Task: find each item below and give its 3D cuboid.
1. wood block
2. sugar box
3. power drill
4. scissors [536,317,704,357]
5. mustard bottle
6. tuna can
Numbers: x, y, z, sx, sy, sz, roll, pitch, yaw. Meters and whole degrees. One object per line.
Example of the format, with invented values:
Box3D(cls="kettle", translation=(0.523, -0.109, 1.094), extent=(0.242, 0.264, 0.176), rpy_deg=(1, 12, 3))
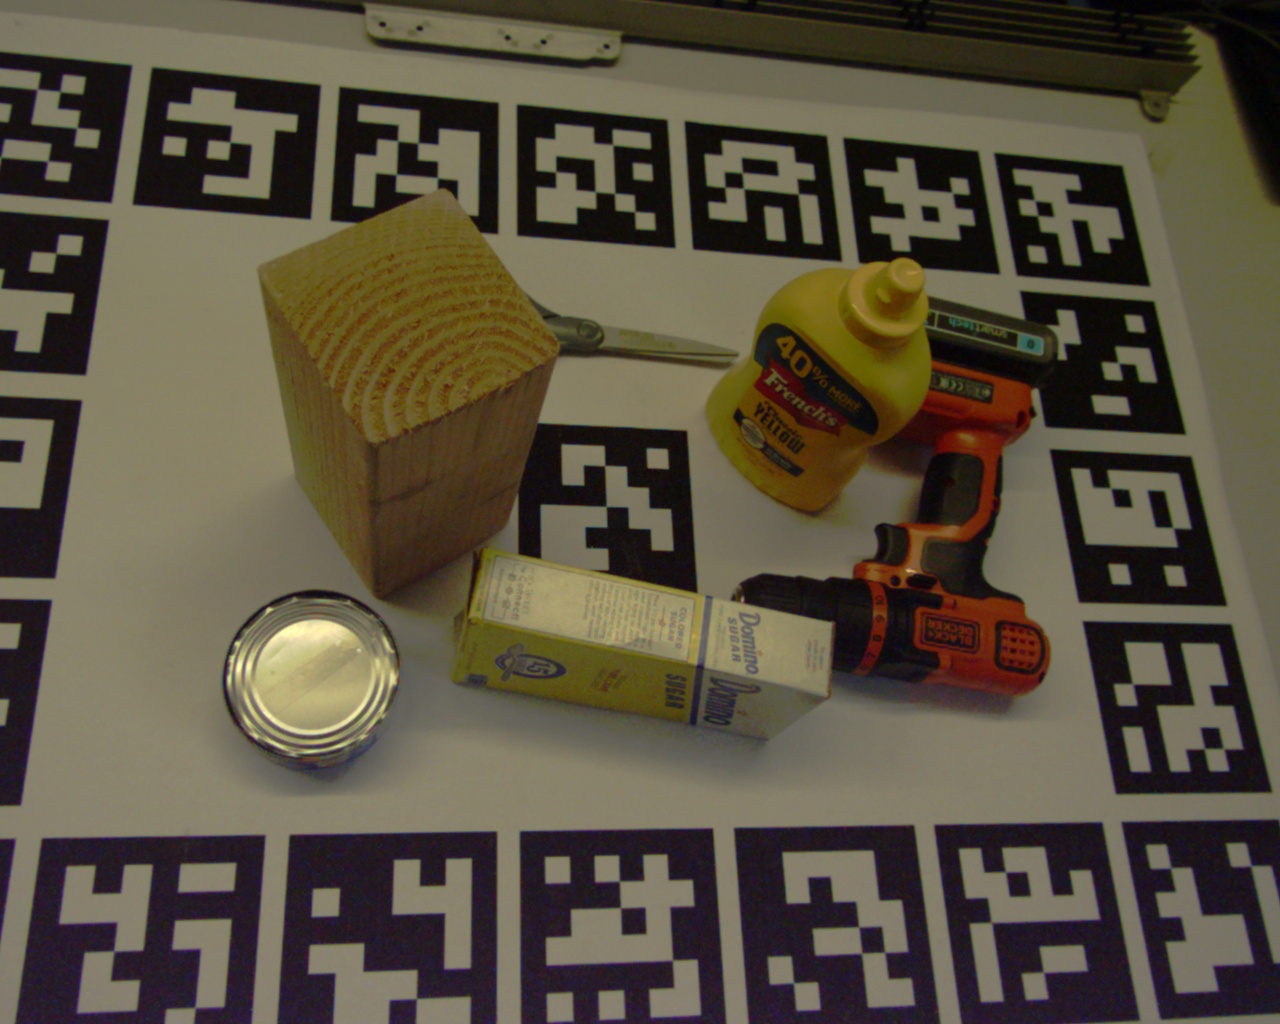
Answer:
Box3D(cls="wood block", translation=(-0.115, -0.040, 0.575), extent=(0.090, 0.207, 0.090), rpy_deg=(-27, 80, -19))
Box3D(cls="sugar box", translation=(0.001, 0.073, 0.610), extent=(0.176, 0.093, 0.045), rpy_deg=(13, 65, -8))
Box3D(cls="power drill", translation=(0.133, -0.001, 0.679), extent=(0.184, 0.057, 0.187), rpy_deg=(14, 75, -6))
Box3D(cls="scissors", translation=(-0.058, -0.105, 0.701), extent=(0.202, 0.016, 0.088), rpy_deg=(3, 66, -10))
Box3D(cls="mustard bottle", translation=(0.096, -0.070, 0.633), extent=(0.058, 0.192, 0.096), rpy_deg=(-40, 84, -21))
Box3D(cls="tuna can", translation=(-0.165, 0.085, 0.599), extent=(0.085, 0.034, 0.086), rpy_deg=(3, 71, -11))
